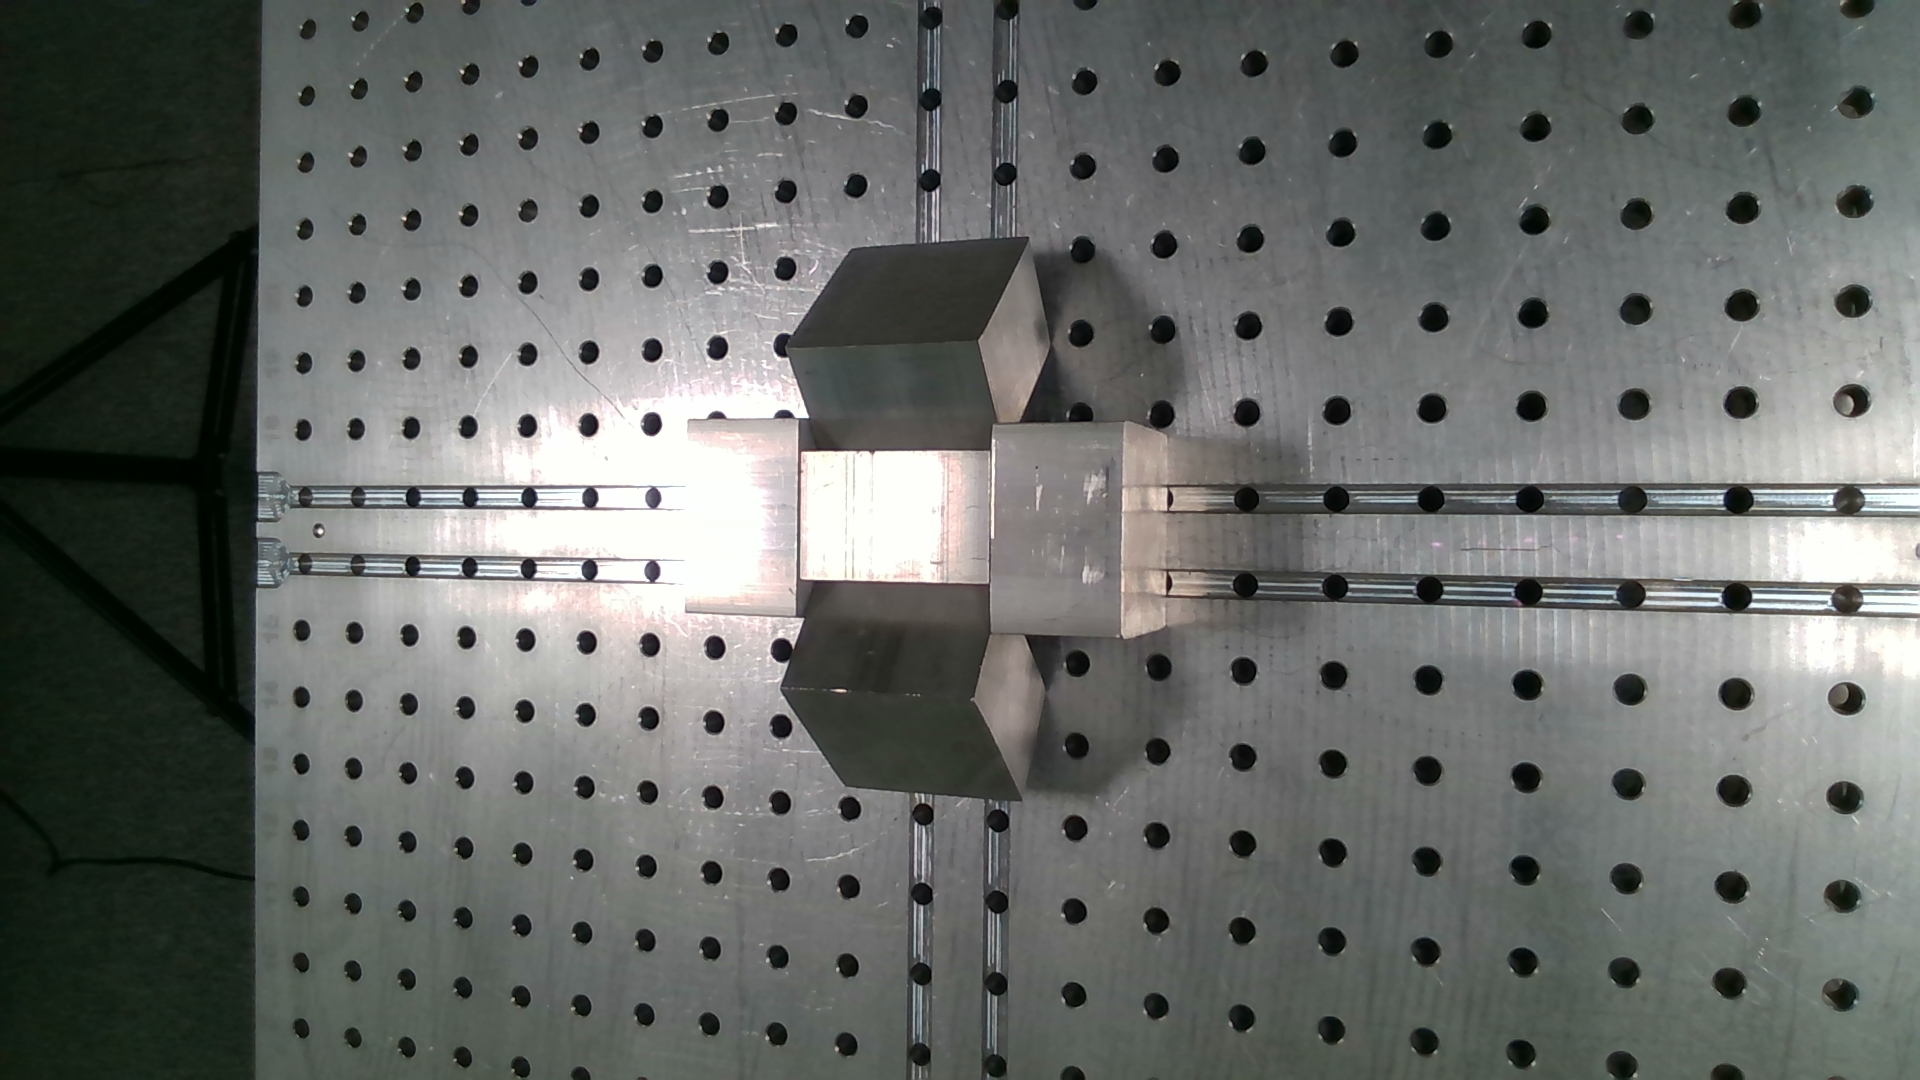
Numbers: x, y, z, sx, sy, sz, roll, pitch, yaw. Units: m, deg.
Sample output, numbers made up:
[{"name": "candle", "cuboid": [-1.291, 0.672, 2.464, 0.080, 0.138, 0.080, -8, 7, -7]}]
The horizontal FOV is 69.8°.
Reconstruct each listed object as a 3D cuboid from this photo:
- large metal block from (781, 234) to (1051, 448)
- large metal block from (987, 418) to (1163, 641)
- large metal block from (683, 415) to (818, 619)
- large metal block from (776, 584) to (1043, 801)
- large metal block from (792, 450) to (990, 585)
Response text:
[{"name": "large metal block", "cuboid": [-0.014, -0.079, 0.557, 0.080, 0.080, 0.050, 1, 130, 21]}, {"name": "large metal block", "cuboid": [0.048, -0.004, 0.540, 0.050, 0.080, 0.080, 1, 91, 20]}, {"name": "large metal block", "cuboid": [-0.074, -0.009, 0.585, 0.050, 0.080, 0.080, 1, 91, 20]}, {"name": "large metal block", "cuboid": [-0.017, 0.061, 0.556, 0.080, 0.080, 0.050, 1, 53, 20]}, {"name": "large metal block", "cuboid": [-0.014, -0.009, 0.563, 0.080, 0.080, 0.050, 1, 91, 20]}]
